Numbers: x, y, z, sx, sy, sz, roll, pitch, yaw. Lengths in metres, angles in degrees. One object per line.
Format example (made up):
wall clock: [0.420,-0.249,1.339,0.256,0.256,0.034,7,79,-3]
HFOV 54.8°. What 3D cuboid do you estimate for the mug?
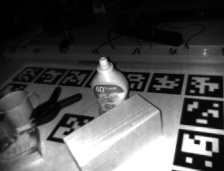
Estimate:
mug: [-0.279,0.075,0.677,0.092,0.082,0.118,22,53,36]

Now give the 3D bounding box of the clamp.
clamp: [-0.190,0.056,0.679,0.120,0.037,0.166,20,52,33]

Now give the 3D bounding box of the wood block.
wood block: [0.010,0.114,0.503,0.207,0.092,0.088,-30,39,-21]

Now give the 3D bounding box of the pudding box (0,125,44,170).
pudding box: [-0.239,0.163,0.557,0.114,0.039,0.089,-22,40,-11]

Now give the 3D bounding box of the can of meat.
can of meat: [-0.329,0.124,0.588,0.102,0.084,0.057,-17,40,-3]

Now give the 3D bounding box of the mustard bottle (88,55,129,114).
mustard bottle: [-0.008,0.002,0.554,0.095,0.193,0.058,-2,42,18]
